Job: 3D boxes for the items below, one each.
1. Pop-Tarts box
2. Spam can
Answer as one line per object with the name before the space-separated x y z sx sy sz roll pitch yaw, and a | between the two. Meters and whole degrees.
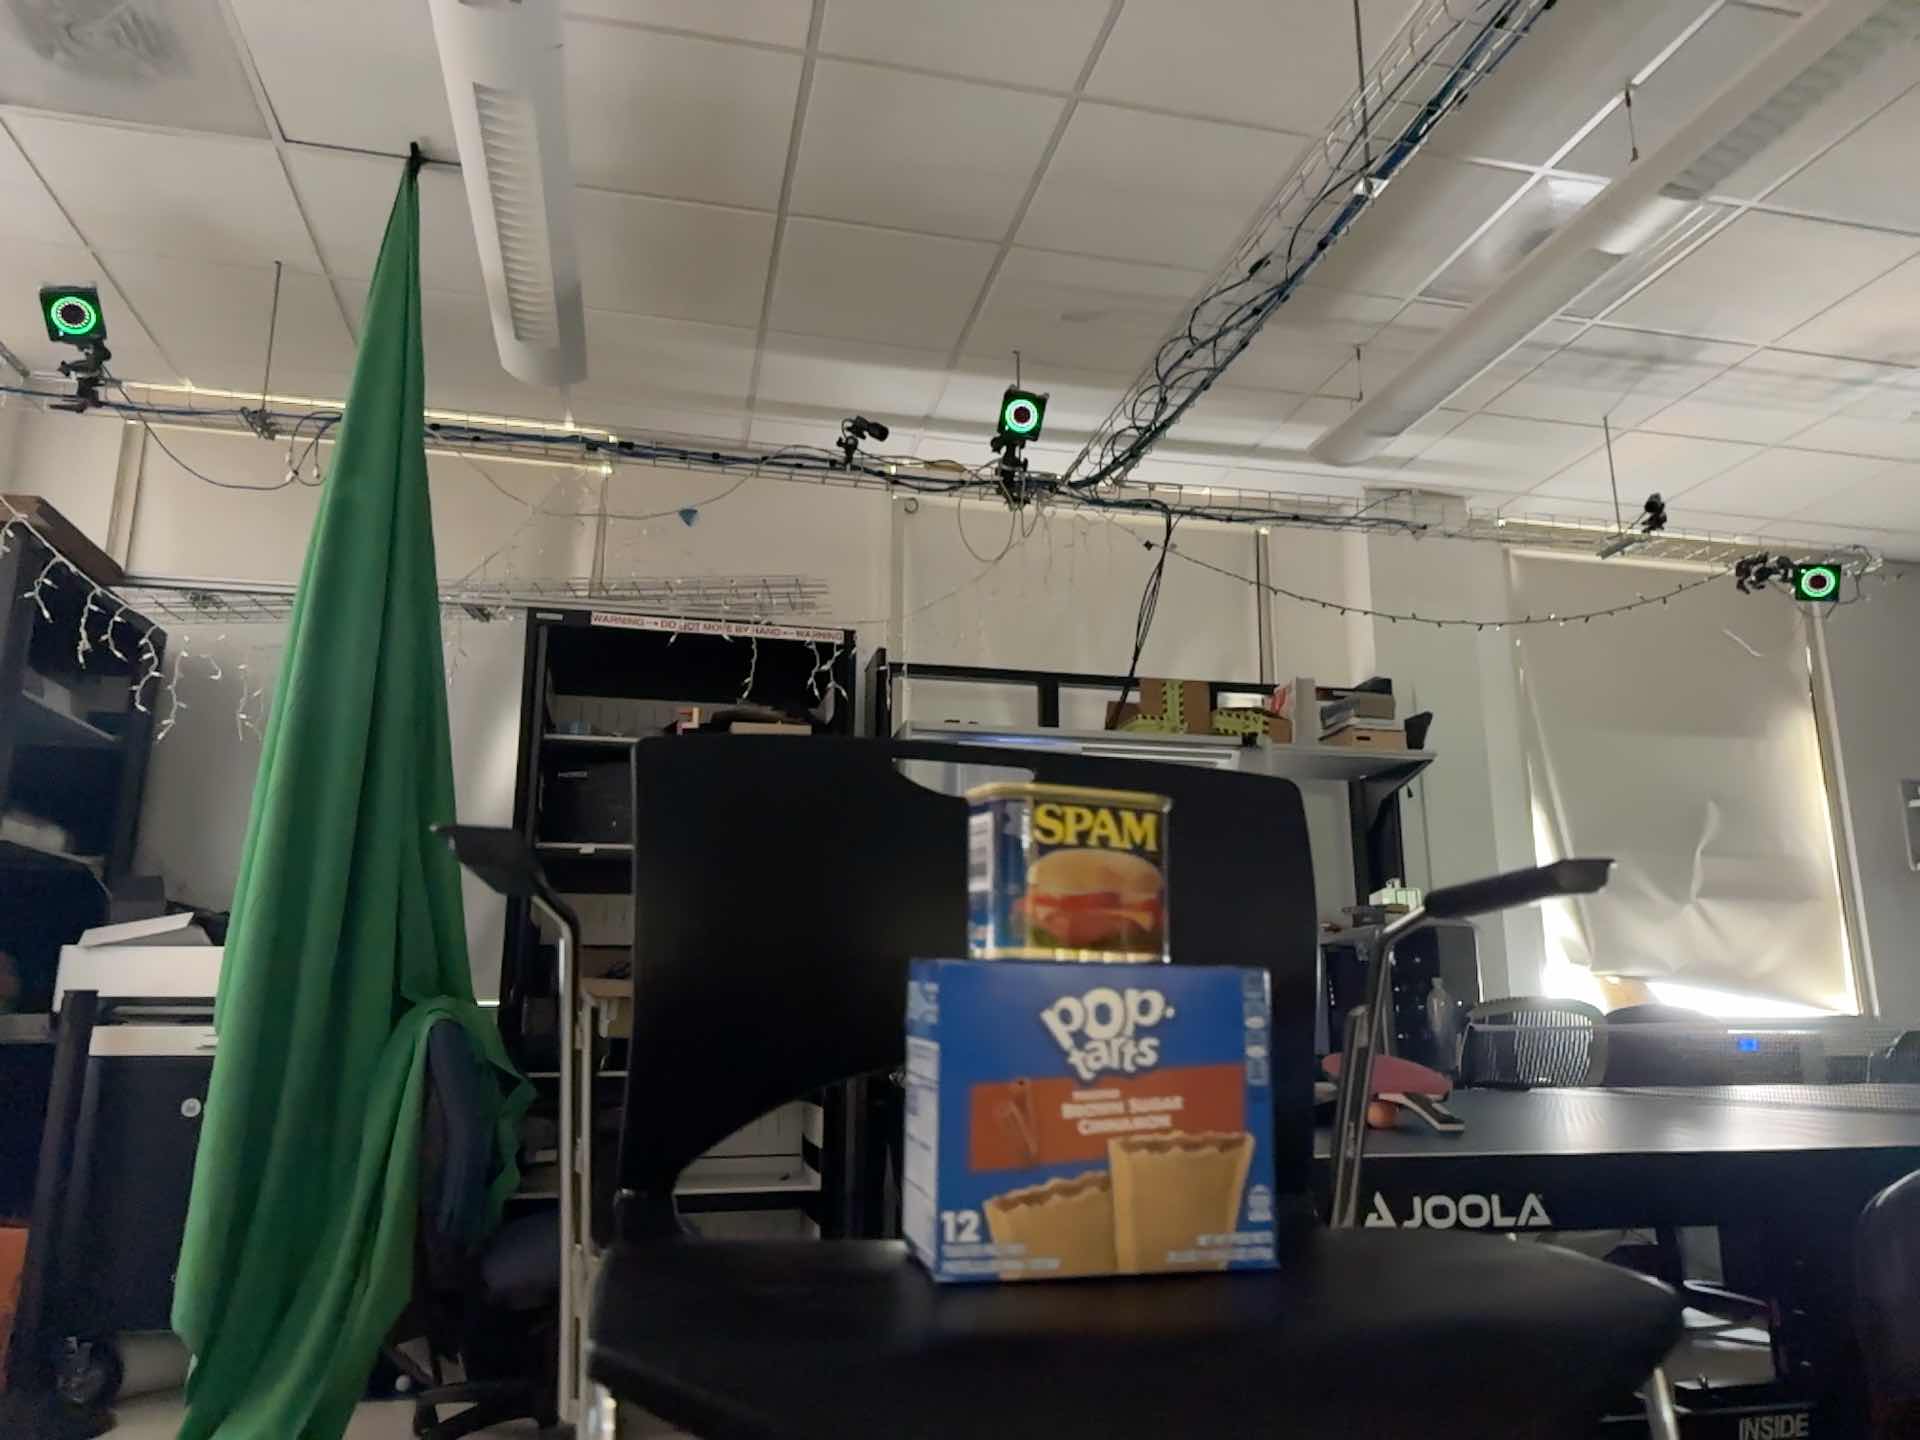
Pop-Tarts box | 0.059 0.193 0.664 0.161 0.135 0.075 3 -9 -16
Spam can | 0.052 0.079 0.675 0.100 0.083 0.056 5 -10 -19
